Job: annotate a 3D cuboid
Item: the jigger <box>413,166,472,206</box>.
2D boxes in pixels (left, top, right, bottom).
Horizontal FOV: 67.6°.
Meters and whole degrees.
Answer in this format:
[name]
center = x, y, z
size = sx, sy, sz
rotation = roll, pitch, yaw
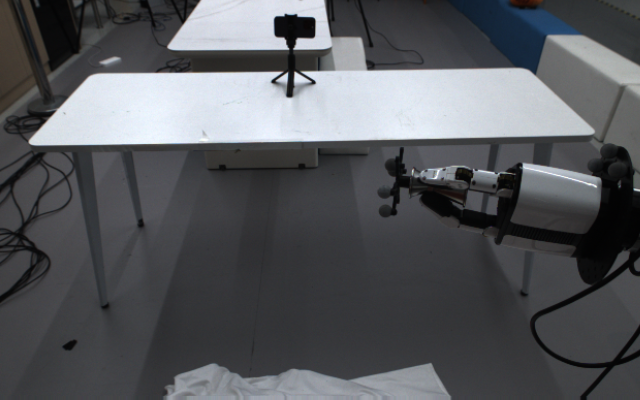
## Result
[jigger]
center = 0.153, -0.022, 0.597
size = 0.071, 0.043, 0.043
rotation = 7, 35, 16
